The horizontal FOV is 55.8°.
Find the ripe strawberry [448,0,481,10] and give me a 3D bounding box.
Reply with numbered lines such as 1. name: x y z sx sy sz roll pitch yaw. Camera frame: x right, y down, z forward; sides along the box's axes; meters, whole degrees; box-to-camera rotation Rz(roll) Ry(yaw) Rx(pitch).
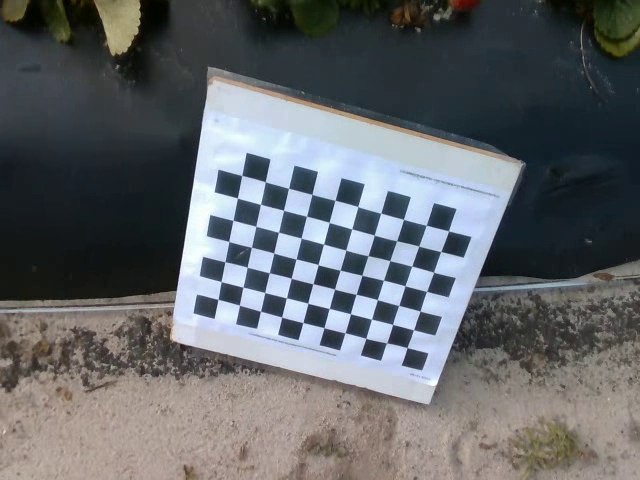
1. ripe strawberry: 0.097 -0.155 0.393 0.027 0.022 0.021 -6 33 16
